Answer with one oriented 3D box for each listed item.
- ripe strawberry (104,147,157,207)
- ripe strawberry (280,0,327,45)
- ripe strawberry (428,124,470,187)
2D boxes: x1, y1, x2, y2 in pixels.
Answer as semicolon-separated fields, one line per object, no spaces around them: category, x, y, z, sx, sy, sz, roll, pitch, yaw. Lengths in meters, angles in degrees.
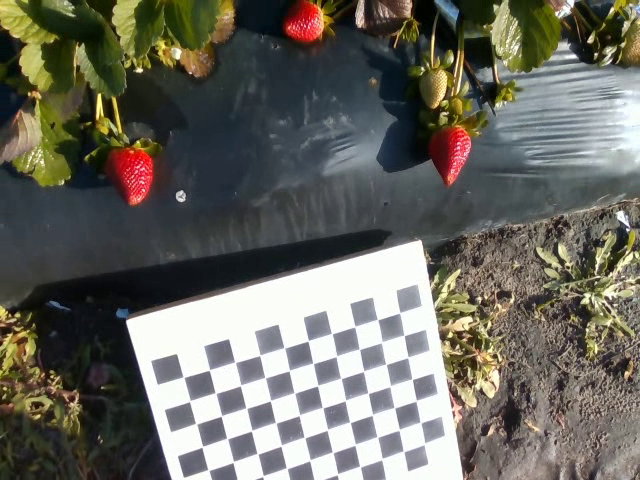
ripe strawberry;-0.154;-0.051;0.483;0.045;0.055;0.042;-7;-21;-18
ripe strawberry;-0.014;-0.179;0.495;0.046;0.035;0.035;-17;12;-21
ripe strawberry;0.109;-0.072;0.516;0.042;0.059;0.042;8;-5;-20
